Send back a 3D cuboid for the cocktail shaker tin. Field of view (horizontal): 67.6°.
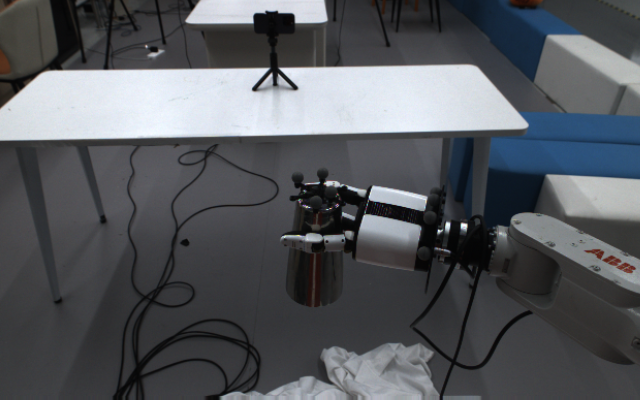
[{"bbox_3d":[-0.004,0.065,0.738,0.093,0.170,0.093,3,33,-2],"label":"cocktail shaker tin"}]
